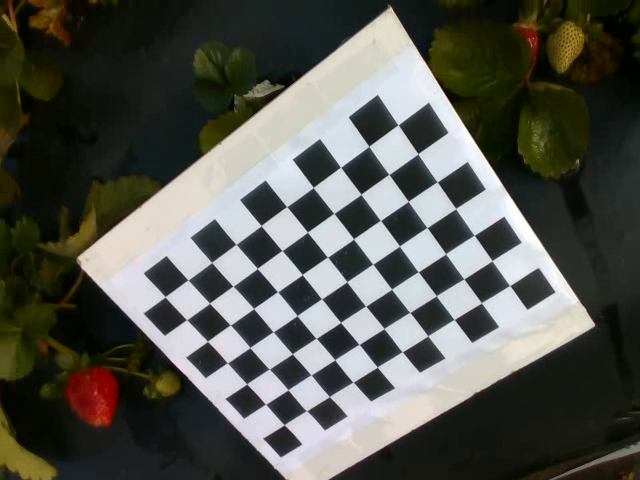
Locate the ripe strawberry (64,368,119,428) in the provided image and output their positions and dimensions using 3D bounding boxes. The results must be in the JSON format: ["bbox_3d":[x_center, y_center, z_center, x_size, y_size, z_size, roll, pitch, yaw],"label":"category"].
[{"bbox_3d":[-0.190,0.136,0.676,0.052,0.043,0.057,10,33,-32],"label":"ripe strawberry"}]
